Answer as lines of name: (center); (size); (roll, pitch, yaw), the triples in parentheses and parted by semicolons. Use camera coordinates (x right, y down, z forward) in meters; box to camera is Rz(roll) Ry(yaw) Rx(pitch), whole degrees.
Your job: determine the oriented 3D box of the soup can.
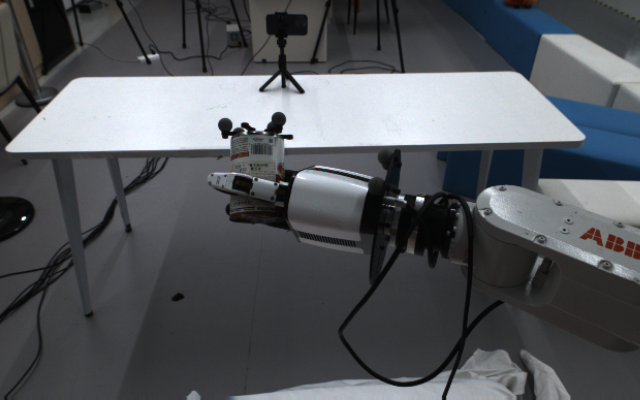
soup can: (-0.074, -0.025, 0.585); (0.067, 0.101, 0.067); (-1, -9, 0)
